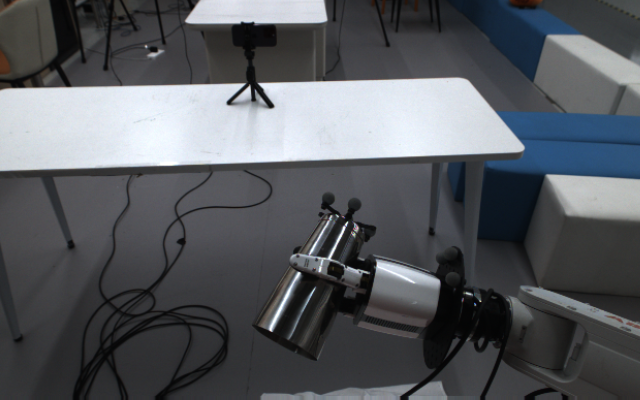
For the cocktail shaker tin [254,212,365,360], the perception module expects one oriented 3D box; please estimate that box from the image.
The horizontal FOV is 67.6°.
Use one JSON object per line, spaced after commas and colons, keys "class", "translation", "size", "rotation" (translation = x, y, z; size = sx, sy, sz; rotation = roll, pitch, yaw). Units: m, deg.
{"class": "cocktail shaker tin", "translation": [-0.003, 0.103, 0.618], "size": [0.093, 0.093, 0.170], "rotation": [18, 66, 21]}
